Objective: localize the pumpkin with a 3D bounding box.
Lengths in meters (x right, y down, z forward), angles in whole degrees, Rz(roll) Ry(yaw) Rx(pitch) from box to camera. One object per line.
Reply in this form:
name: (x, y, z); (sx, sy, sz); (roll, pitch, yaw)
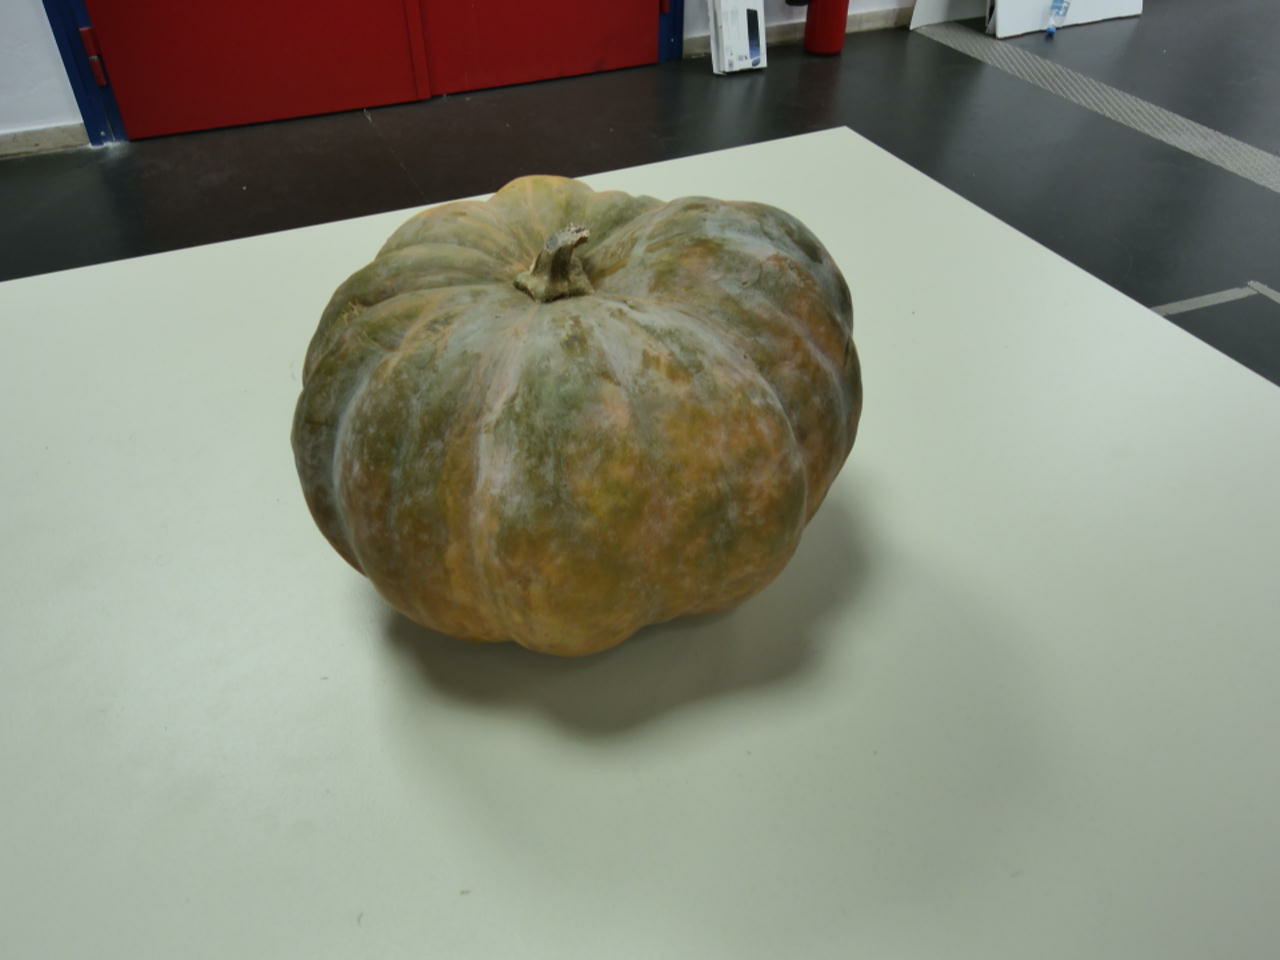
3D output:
pumpkin: (-0.030, -0.035, 0.449); (0.252, 0.169, 0.251); (0, 39, 0)
